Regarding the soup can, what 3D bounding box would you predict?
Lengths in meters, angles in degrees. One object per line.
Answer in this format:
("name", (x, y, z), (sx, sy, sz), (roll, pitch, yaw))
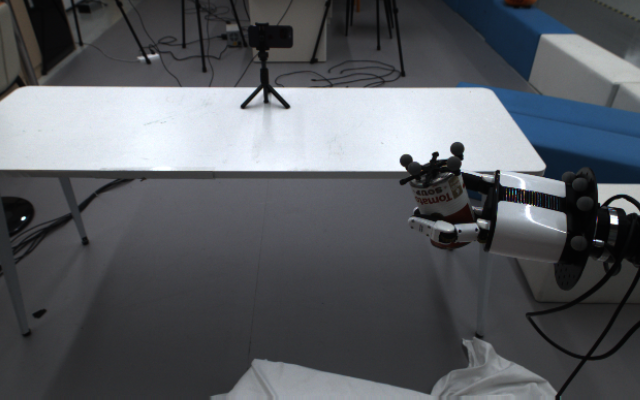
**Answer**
("soup can", (0.167, 0.004, 0.646), (0.067, 0.101, 0.067), (-21, 24, 10))
